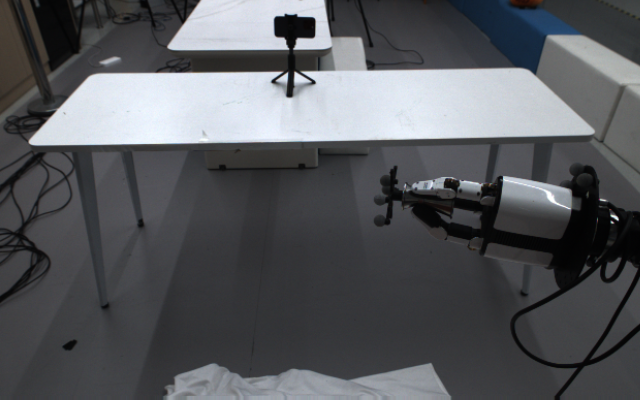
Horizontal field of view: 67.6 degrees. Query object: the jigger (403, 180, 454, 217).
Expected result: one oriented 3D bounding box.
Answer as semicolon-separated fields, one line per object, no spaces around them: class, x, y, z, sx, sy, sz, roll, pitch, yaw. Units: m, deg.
jigger;0.155;-0.007;0.660;0.071;0.043;0.043;8;35;14
